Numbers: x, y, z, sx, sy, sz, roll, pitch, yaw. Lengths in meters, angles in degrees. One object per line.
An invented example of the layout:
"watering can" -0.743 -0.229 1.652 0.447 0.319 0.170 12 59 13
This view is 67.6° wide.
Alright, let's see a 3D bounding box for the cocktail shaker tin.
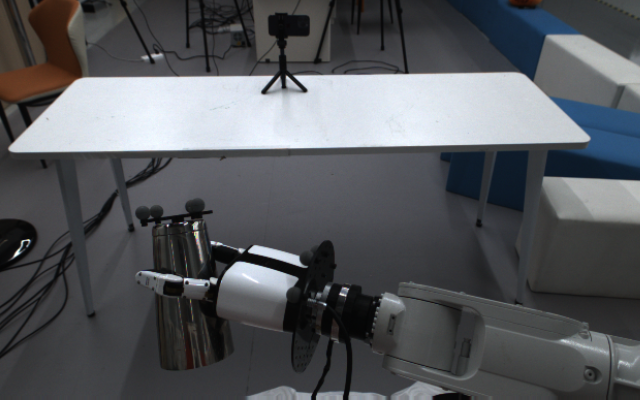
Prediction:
"cocktail shaker tin" -0.165 0.114 0.607 0.093 0.170 0.093 -8 1 0
